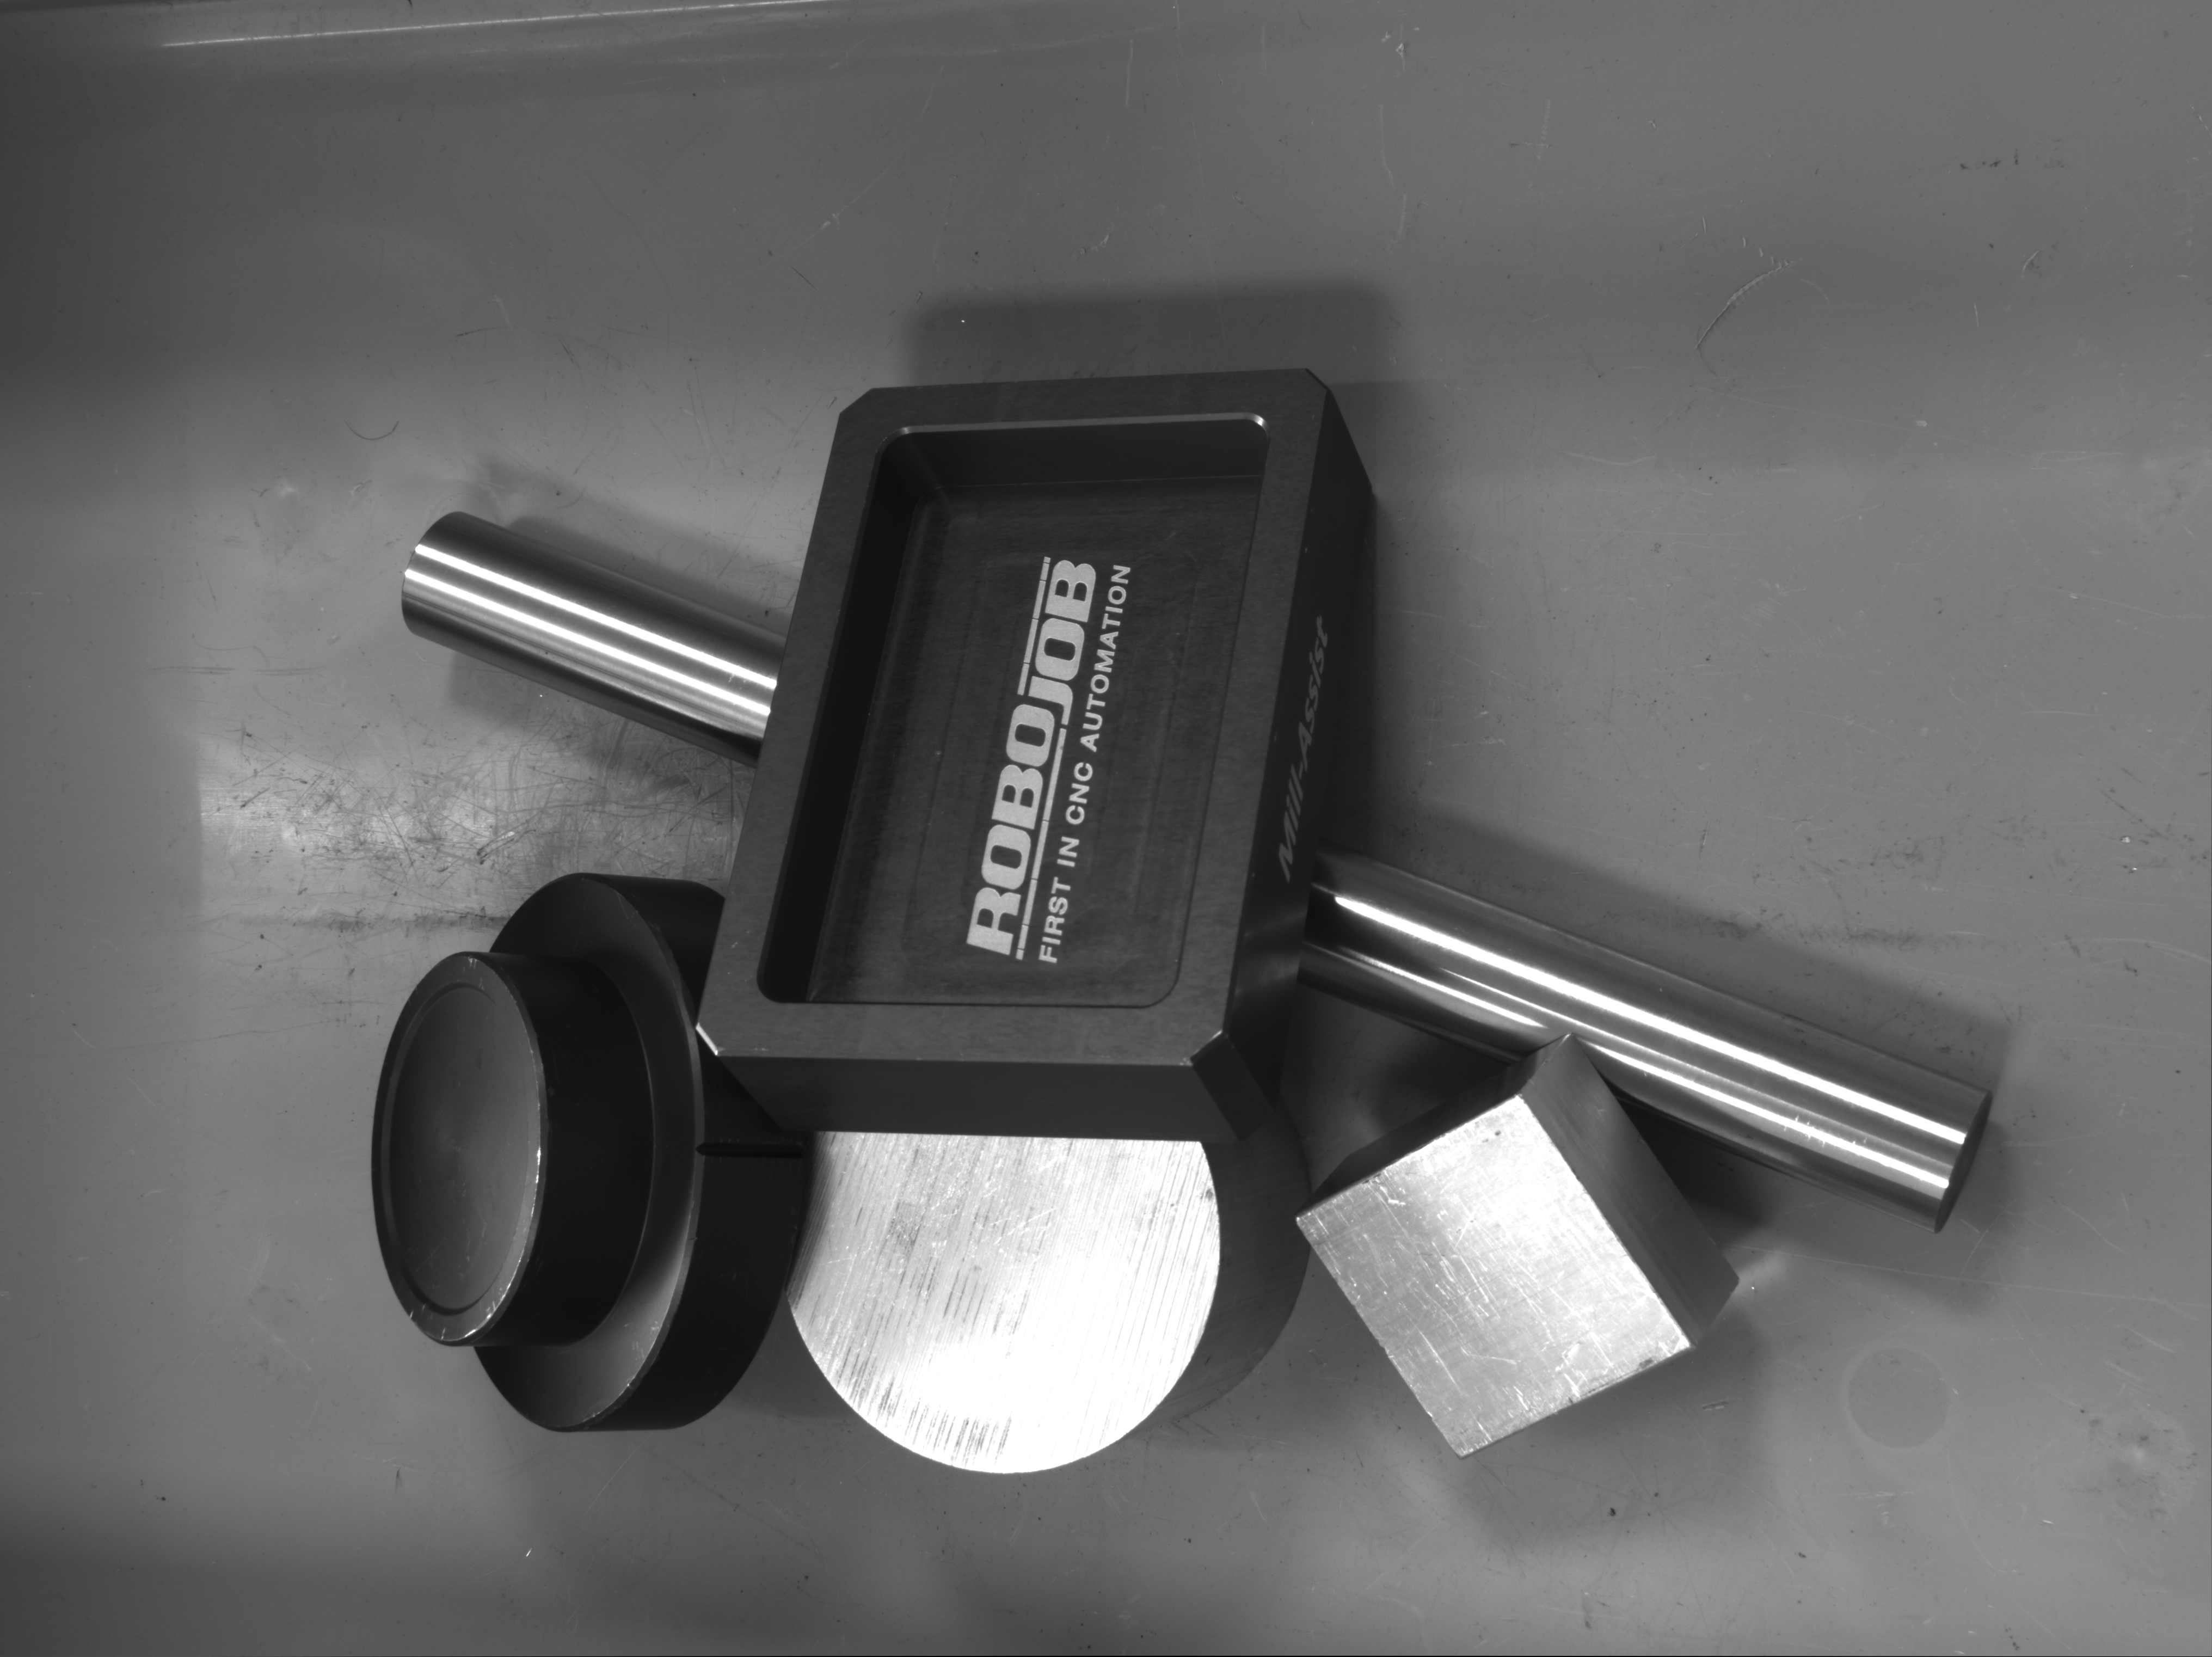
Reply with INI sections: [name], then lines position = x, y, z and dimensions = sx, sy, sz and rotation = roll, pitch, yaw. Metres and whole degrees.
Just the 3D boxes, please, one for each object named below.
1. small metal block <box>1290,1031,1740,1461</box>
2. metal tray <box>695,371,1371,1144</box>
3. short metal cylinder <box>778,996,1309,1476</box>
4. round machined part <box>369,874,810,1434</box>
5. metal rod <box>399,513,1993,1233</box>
[small metal block]
position = 0.068, 0.070, 0.609
dimensions = 0.050, 0.025, 0.050
rotation = -33, 95, 33
[metal tray]
position = -0.010, -0.013, 0.615
dimensions = 0.090, 0.030, 0.130
rotation = 0, 61, 19
[short metal cylinder]
position = -0.010, 0.068, 0.636
dimensions = 0.080, 0.050, 0.080
rotation = 0, 90, 20
[round machined part]
position = -0.096, 0.057, 0.646
dimensions = 0.098, 0.042, 0.098
rotation = -10, 78, 52
[metal rod]
position = 0.007, 0.003, 0.643
dimensions = 0.299, 0.025, 0.025
rotation = 21, 97, 19
